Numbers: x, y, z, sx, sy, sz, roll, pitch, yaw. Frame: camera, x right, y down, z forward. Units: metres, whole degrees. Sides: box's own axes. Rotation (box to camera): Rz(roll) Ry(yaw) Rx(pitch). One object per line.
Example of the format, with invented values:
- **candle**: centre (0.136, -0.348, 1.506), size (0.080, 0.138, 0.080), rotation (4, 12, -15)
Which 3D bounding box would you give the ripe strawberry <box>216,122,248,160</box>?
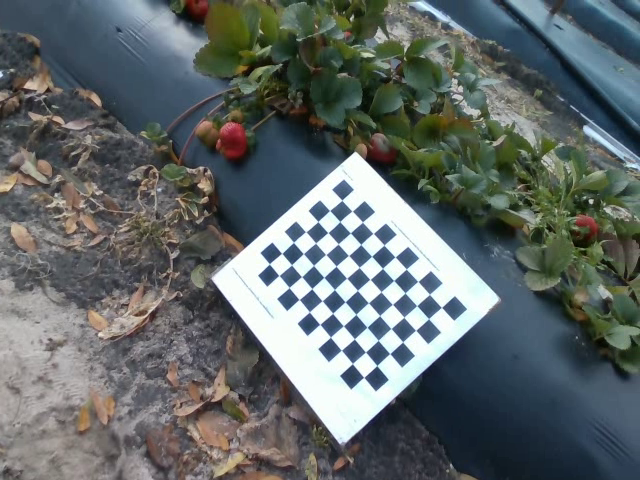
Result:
- **ripe strawberry**: centre (-0.151, -0.171, 0.926), size (0.066, 0.075, 0.053), rotation (29, -9, 15)
